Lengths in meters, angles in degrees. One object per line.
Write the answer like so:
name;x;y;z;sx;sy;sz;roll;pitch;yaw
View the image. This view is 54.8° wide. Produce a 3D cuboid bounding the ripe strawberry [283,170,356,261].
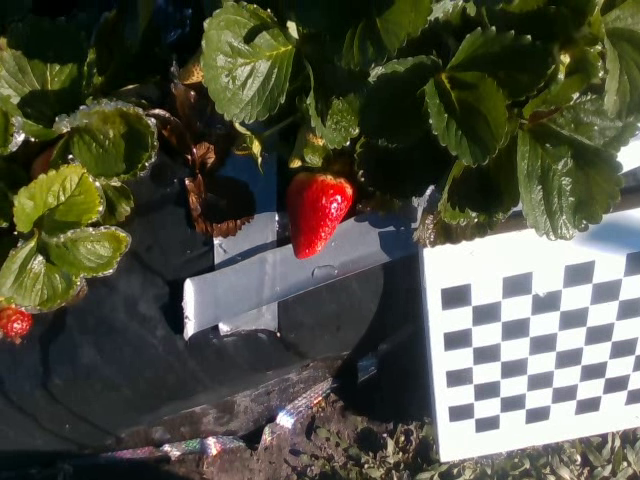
ripe strawberry;0.000;-0.014;0.462;0.062;0.065;0.058;15;-11;-20
